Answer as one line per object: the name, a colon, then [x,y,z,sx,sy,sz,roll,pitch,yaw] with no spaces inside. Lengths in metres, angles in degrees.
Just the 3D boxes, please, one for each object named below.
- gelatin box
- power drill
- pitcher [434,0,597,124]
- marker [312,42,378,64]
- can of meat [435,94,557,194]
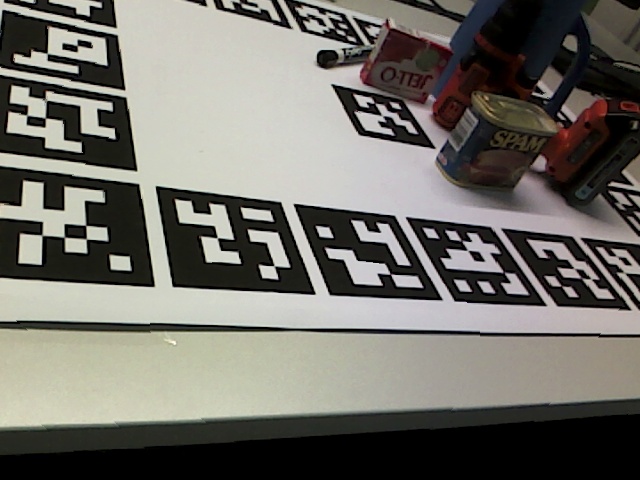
gelatin box: [0.106,-0.211,0.754,0.089,0.073,0.030,13,44,-21]
power drill: [0.241,-0.173,0.701,0.187,0.185,0.057,32,40,-4]
pitcher: [0.261,-0.259,0.777,0.189,0.242,0.133,21,41,2]
marker: [0.034,-0.236,0.778,0.120,0.019,0.020,-23,60,-44]
can of meat: [0.183,-0.099,0.656,0.101,0.084,0.058,3,42,-29]
